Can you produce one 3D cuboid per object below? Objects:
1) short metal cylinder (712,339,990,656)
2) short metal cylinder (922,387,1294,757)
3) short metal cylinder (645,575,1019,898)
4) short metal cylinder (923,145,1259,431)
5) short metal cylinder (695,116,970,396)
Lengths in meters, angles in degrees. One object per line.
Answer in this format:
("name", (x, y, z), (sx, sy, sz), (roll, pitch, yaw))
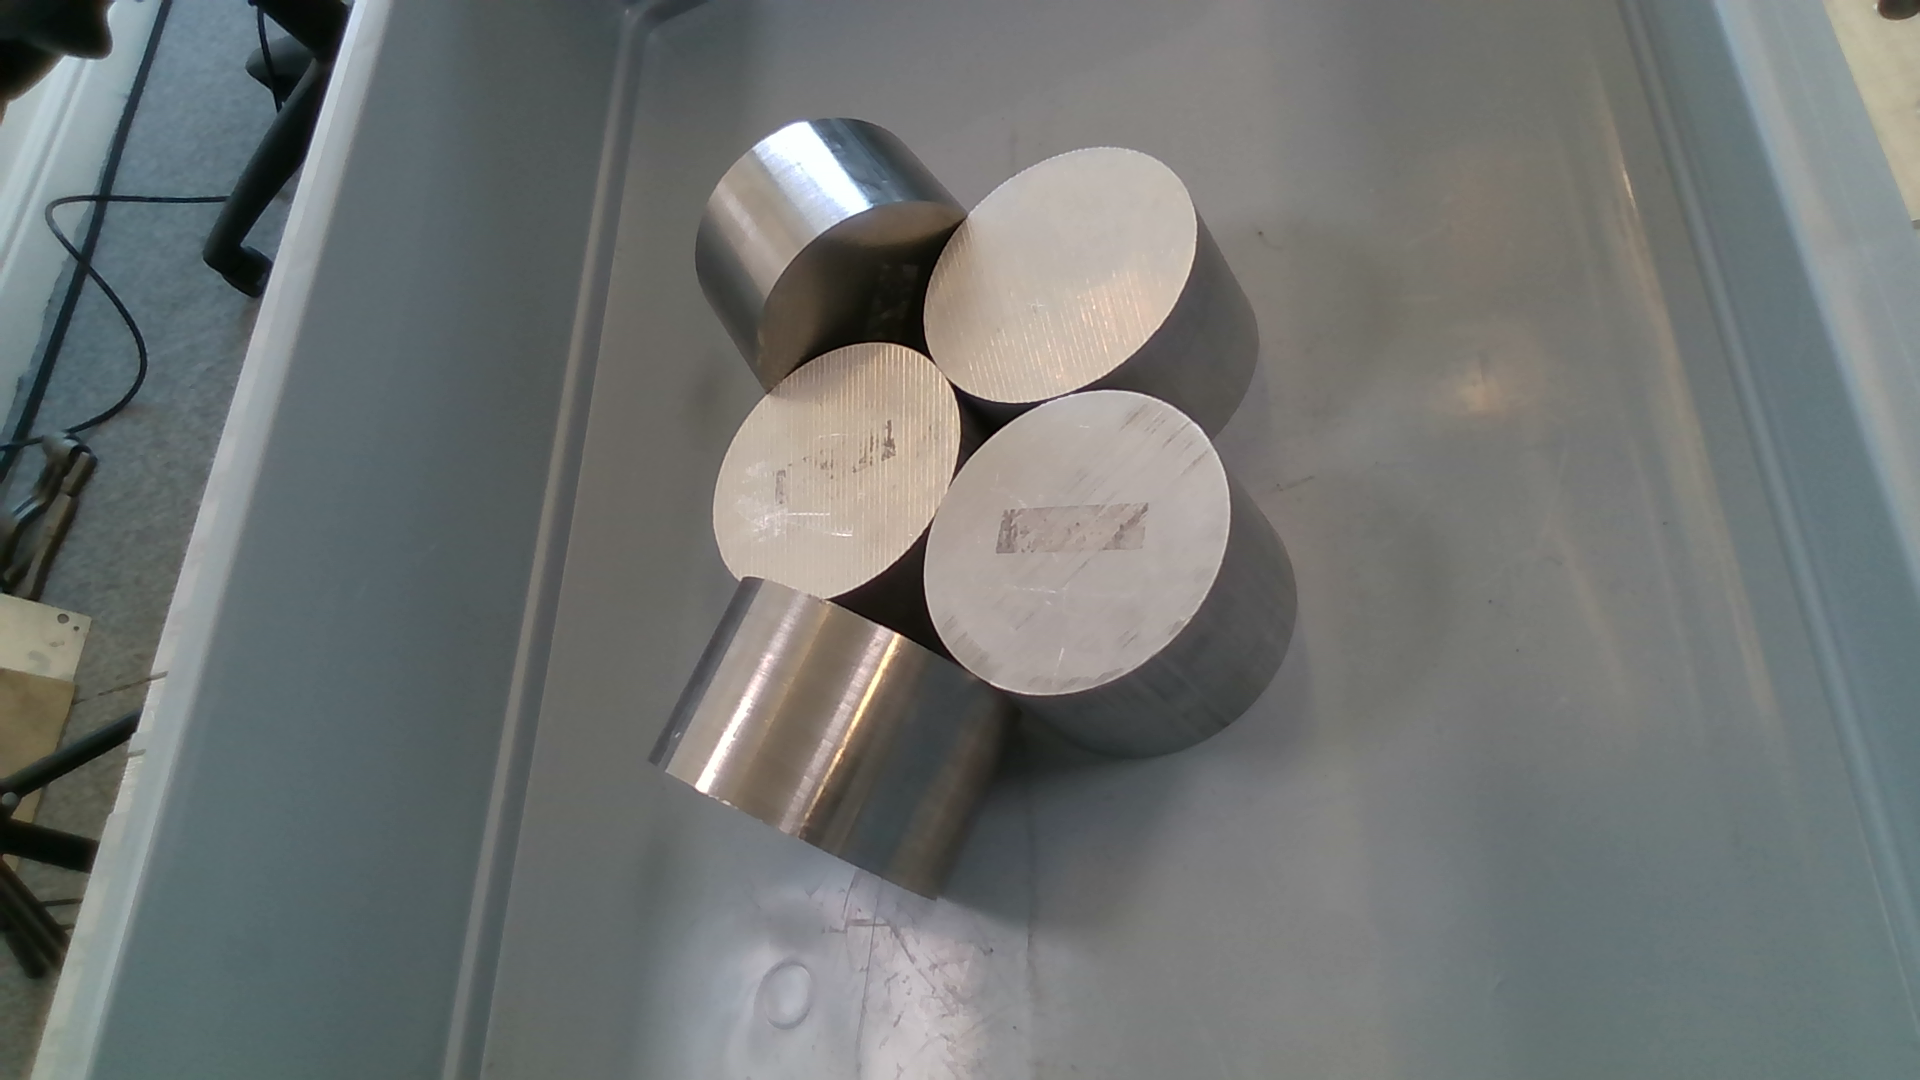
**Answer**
("short metal cylinder", (-0.023, -0.010, 0.395), (0.080, 0.050, 0.080), (-14, 59, 25))
("short metal cylinder", (0.038, 0.009, 0.347), (0.080, 0.050, 0.080), (-14, 59, 25))
("short metal cylinder", (-0.032, 0.050, 0.349), (0.080, 0.080, 0.050), (17, 75, 37))
("short metal cylinder", (0.037, -0.062, 0.385), (0.080, 0.050, 0.080), (-14, 59, 25))
("short metal cylinder", (-0.034, -0.080, 0.420), (0.080, 0.080, 0.050), (-40, 51, 7))
